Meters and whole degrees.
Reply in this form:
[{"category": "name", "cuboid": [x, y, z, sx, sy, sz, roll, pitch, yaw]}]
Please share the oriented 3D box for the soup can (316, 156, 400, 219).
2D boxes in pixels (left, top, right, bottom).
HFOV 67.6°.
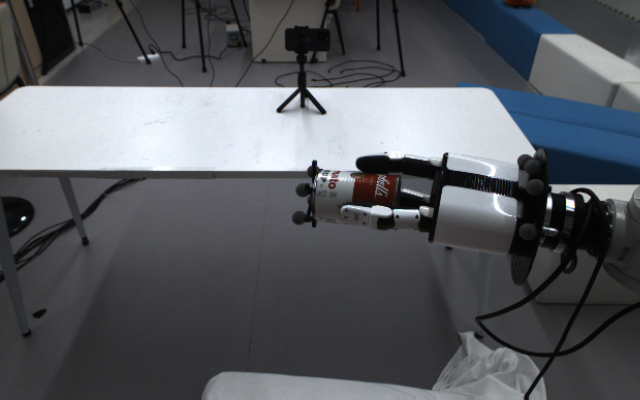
[{"category": "soup can", "cuboid": [0.049, -0.002, 0.604, 0.101, 0.067, 0.067, 5, 35, 13]}]
